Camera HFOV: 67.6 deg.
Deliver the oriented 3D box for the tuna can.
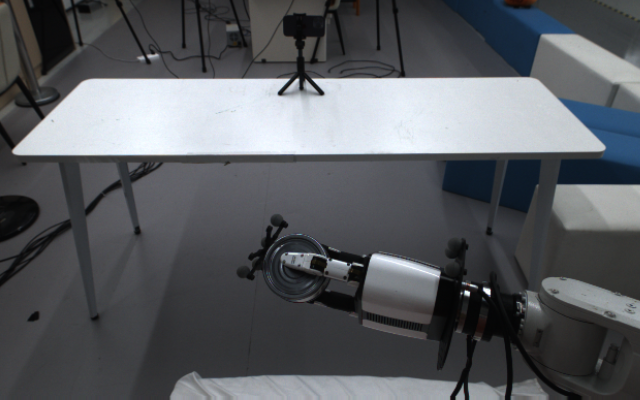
[{"bbox_3d":[-0.025,0.090,0.615,0.085,0.034,0.085,-2,72,5],"label":"tuna can"}]
